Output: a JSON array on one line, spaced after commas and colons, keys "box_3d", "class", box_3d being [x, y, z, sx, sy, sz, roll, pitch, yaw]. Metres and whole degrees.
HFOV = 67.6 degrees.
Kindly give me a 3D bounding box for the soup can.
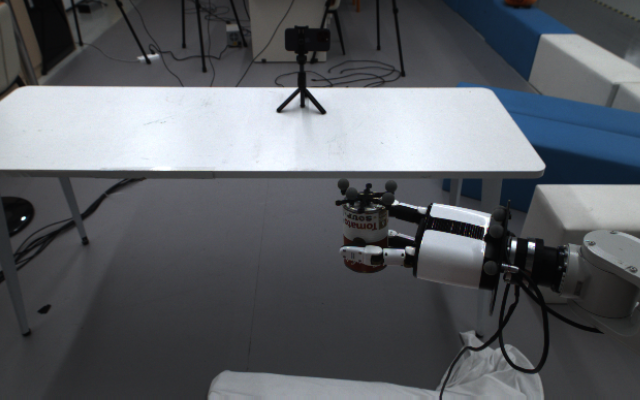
[{"box_3d": [0.069, 0.045, 0.708, 0.067, 0.101, 0.067, -3, 27, 2], "class": "soup can"}]
